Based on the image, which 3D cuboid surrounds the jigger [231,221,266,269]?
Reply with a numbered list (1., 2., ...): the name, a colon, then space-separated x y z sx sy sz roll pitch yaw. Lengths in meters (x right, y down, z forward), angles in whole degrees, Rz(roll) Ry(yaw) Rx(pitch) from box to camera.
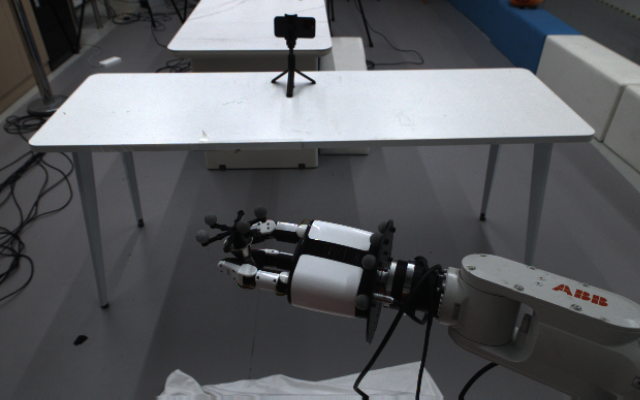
1. jigger: -0.100 0.082 0.659 0.043 0.071 0.043 -10 32 6
